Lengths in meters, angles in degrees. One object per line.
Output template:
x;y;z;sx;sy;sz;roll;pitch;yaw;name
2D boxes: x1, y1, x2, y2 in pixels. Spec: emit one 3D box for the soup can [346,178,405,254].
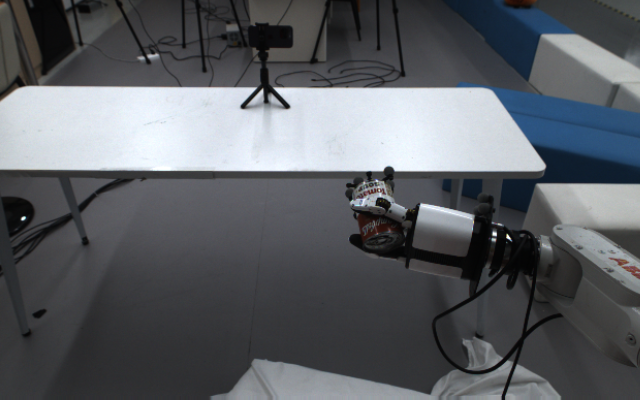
0.093;0.025;0.778;0.067;0.067;0.101;-5;57;-10;soup can
